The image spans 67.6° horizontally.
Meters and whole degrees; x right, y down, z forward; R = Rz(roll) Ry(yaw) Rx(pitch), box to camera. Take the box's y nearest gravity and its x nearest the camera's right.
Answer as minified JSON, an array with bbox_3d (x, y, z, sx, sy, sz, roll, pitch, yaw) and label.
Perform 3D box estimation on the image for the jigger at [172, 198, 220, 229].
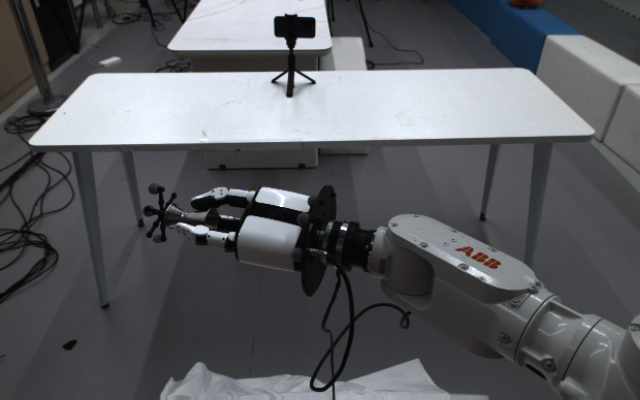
[{"bbox_3d":[-0.186,0.026,0.730,0.071,0.043,0.043,7,35,13],"label":"jigger"}]
